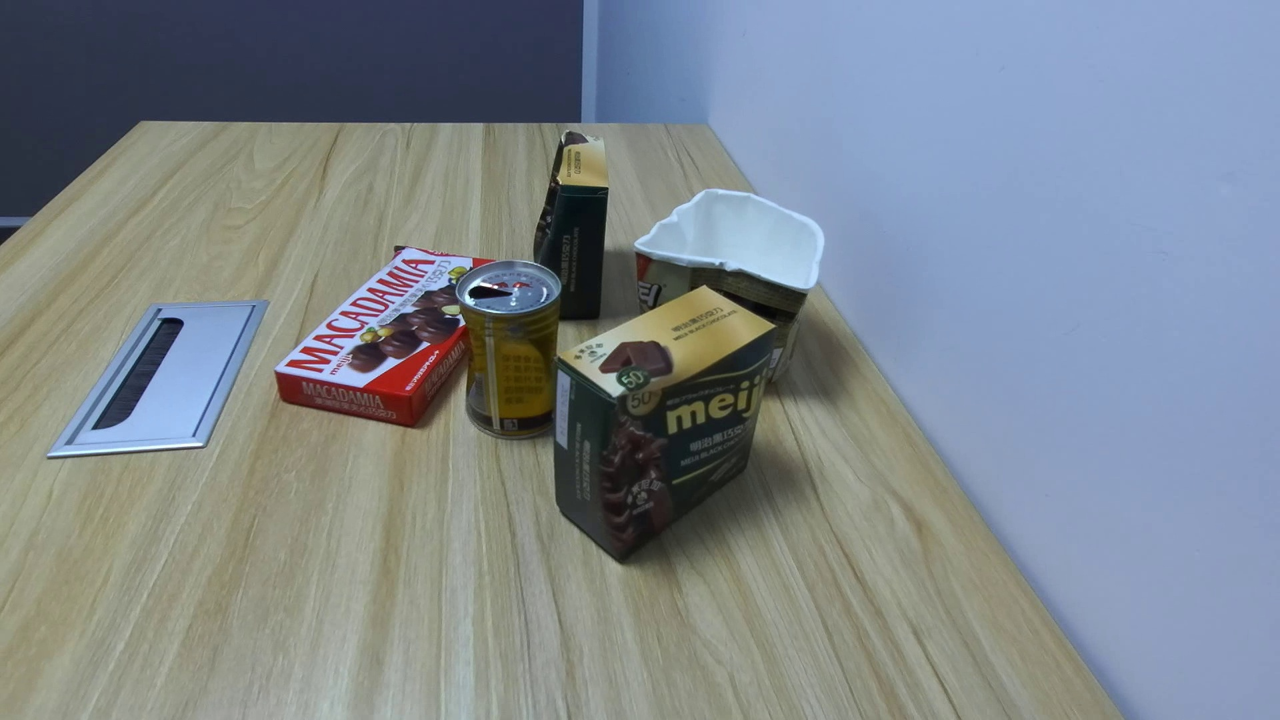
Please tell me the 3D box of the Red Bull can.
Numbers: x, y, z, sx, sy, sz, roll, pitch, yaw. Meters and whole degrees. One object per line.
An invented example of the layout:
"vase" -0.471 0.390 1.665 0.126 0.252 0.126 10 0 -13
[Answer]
"Red Bull can" -0.079 -0.008 0.435 0.072 0.092 0.072 3 40 -2

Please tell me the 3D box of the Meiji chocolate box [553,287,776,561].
"Meiji chocolate box" 0.014 0.033 0.375 0.113 0.111 0.058 -28 48 -35

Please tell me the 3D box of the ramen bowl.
"ramen bowl" 0.062 -0.055 0.502 0.113 0.097 0.134 11 38 10

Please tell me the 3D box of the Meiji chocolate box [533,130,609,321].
"Meiji chocolate box" -0.052 -0.104 0.549 0.052 0.117 0.117 5 36 -12

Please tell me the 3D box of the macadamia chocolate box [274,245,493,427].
"macadamia chocolate box" -0.165 -0.027 0.508 0.105 0.028 0.183 10 37 6
